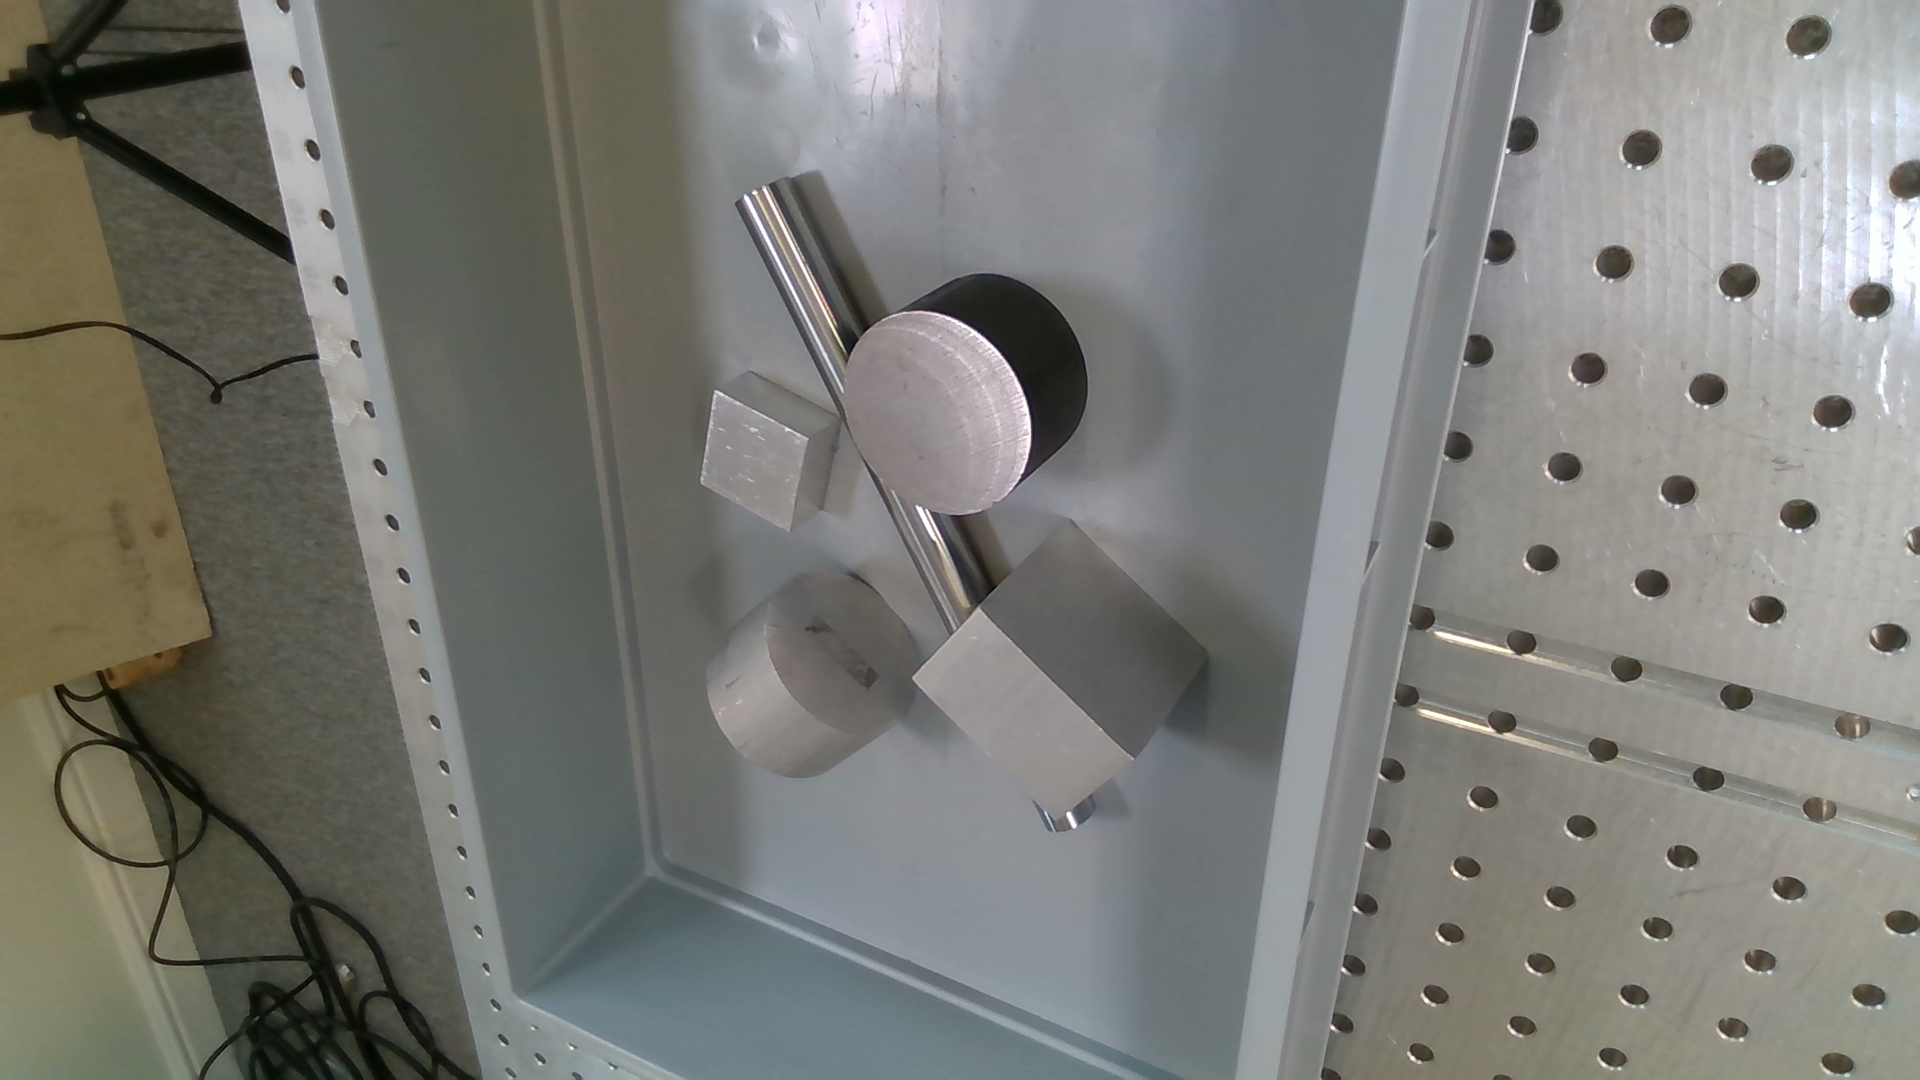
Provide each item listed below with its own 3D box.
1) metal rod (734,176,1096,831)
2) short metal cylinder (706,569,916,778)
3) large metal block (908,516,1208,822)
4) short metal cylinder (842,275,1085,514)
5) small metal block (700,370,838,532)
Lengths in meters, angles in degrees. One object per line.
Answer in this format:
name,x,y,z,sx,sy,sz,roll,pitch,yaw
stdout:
metal rod,-0.015,-0.009,0.583,0.025,0.025,0.300,-16,106,37
short metal cylinder,-0.066,0.060,0.617,0.080,0.080,0.050,50,130,-1
large metal block,0.040,0.049,0.546,0.080,0.080,0.050,44,129,3
short metal cylinder,0.002,-0.057,0.530,0.080,0.050,0.080,14,122,25
small metal block,-0.085,-0.040,0.609,0.050,0.025,0.050,28,127,16
